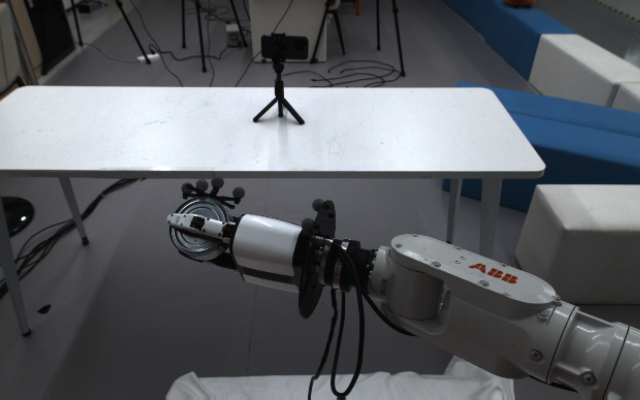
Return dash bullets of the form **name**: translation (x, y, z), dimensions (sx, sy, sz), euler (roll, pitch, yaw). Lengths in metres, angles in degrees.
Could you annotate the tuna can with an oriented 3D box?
- **tuna can**: translation (-0.163, 0.040, 0.679), dimensions (0.085, 0.034, 0.085), euler (-3, 68, 8)
